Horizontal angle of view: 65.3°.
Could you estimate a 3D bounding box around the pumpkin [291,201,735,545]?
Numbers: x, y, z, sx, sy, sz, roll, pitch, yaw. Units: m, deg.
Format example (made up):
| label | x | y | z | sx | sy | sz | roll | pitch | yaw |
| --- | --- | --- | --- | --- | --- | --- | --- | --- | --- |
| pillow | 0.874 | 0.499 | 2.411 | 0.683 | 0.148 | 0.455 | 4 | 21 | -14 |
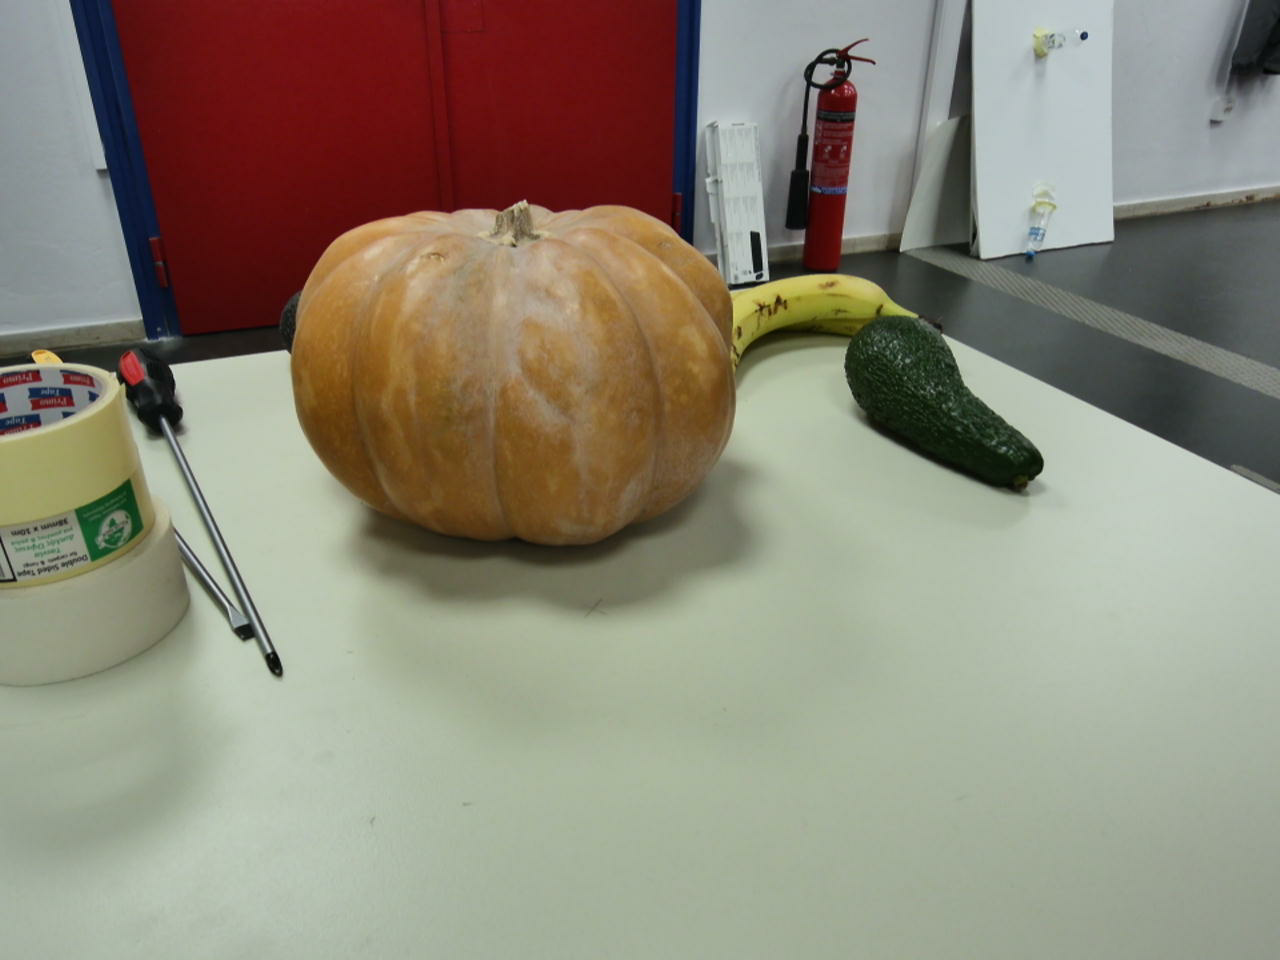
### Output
| label | x | y | z | sx | sy | sz | roll | pitch | yaw |
| --- | --- | --- | --- | --- | --- | --- | --- | --- | --- |
| pumpkin | -0.069 | -0.069 | 0.587 | 0.277 | 0.181 | 0.277 | 0 | 26 | 0 |
